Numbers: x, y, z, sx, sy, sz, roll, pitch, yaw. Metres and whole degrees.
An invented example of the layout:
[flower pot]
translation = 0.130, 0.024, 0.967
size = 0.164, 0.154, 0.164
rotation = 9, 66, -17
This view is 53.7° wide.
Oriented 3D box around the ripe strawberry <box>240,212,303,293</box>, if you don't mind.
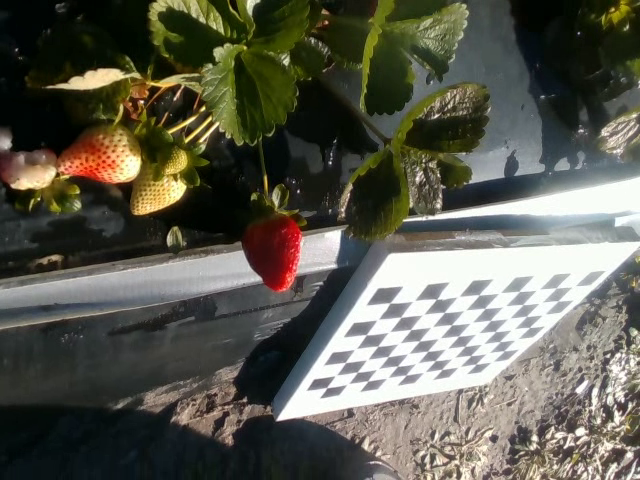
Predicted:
[ripe strawberry]
translation = -0.025, 0.009, 0.328
size = 0.036, 0.046, 0.038
rotation = 0, -25, -25
